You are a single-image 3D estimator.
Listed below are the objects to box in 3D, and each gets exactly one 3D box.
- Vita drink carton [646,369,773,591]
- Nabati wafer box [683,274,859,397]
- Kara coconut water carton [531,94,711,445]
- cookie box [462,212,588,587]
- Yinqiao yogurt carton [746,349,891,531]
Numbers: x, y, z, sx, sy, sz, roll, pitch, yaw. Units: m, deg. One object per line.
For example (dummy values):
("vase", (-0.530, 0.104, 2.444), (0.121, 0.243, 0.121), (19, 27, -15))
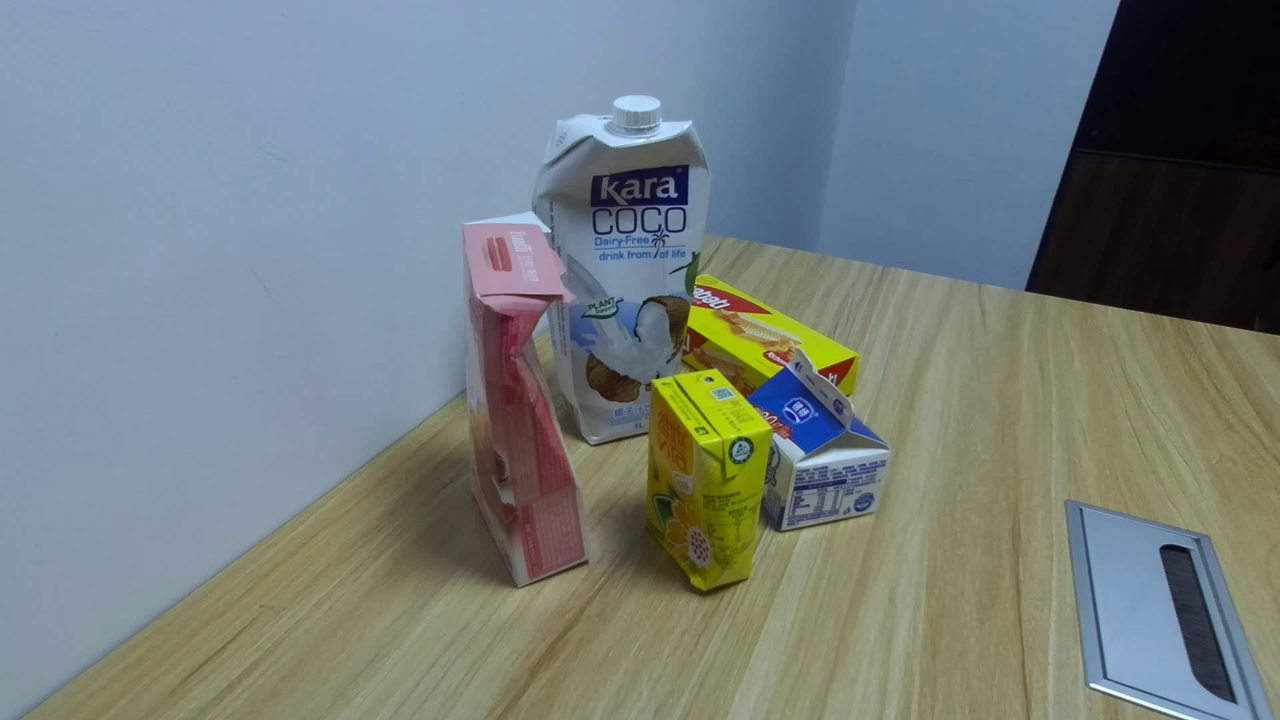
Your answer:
("Vita drink carton", (0.037, 0.070, 0.397), (0.043, 0.109, 0.076), (-9, 31, -19))
("Nabati wafer box", (0.087, -0.018, 0.629), (0.093, 0.042, 0.202), (-16, 34, -30))
("Kara coconut water carton", (-0.013, -0.058, 0.489), (0.115, 0.238, 0.069), (-10, 33, -21))
("cookie box", (-0.065, 0.026, 0.395), (0.055, 0.184, 0.118), (-8, 31, -19))
("Yinqiao yogurt carton", (0.111, 0.048, 0.457), (0.074, 0.092, 0.075), (-6, 31, -17))
